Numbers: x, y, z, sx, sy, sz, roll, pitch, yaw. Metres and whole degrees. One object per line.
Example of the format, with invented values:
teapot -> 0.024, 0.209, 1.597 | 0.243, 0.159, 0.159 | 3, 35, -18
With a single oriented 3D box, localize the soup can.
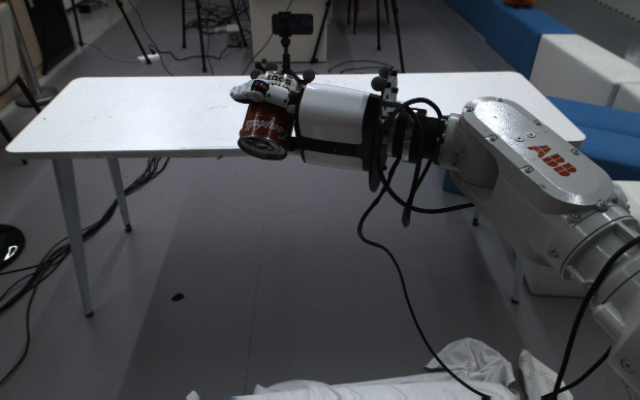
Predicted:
soup can -> -0.066, -0.113, 0.653 | 0.067, 0.067, 0.101 | 9, 71, 9
